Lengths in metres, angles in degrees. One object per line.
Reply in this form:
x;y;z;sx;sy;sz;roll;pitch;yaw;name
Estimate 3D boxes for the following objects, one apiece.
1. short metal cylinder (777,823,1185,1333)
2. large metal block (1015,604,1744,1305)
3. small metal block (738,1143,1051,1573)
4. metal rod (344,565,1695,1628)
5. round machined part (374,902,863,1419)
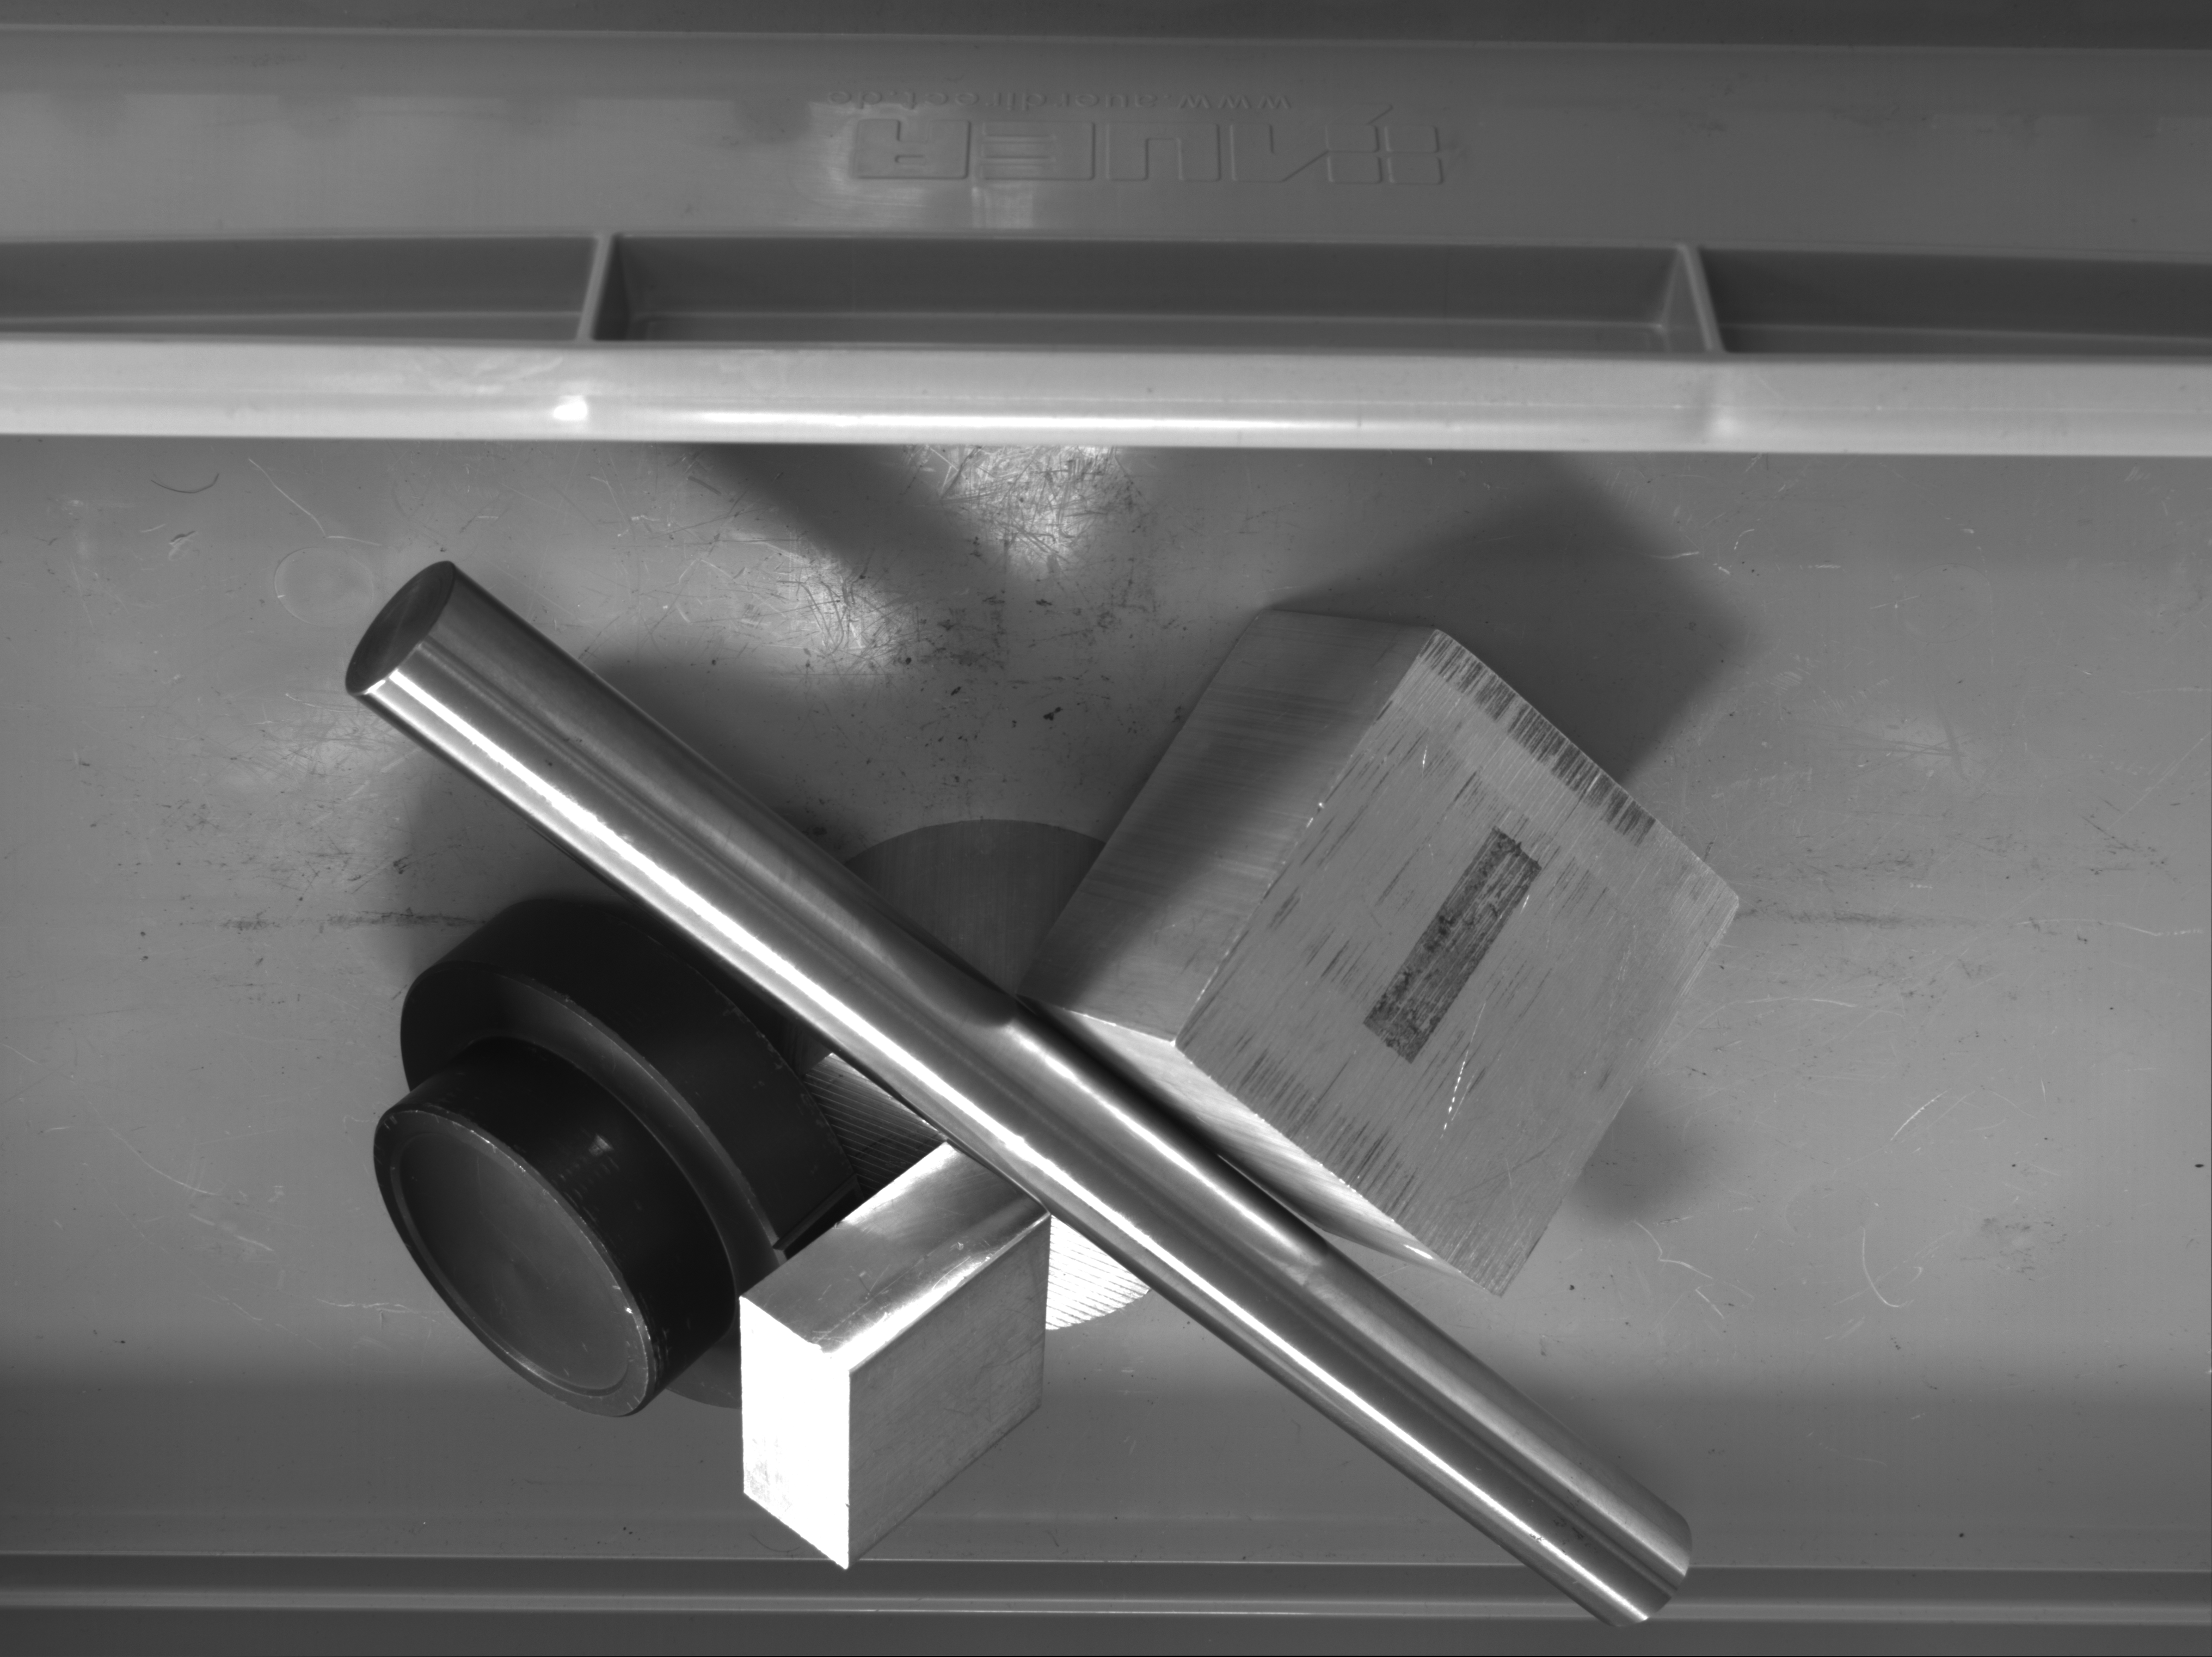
-0.020;0.046;0.659;0.080;0.050;0.080;0;130;0;short metal cylinder
0.046;0.020;0.610;0.080;0.050;0.080;38;77;-28;large metal block
-0.036;0.090;0.629;0.025;0.050;0.050;30;137;28;small metal block
-0.003;0.055;0.618;0.025;0.025;0.301;-36;122;26;metal rod
-0.090;0.065;0.647;0.098;0.042;0.098;29;141;26;round machined part
